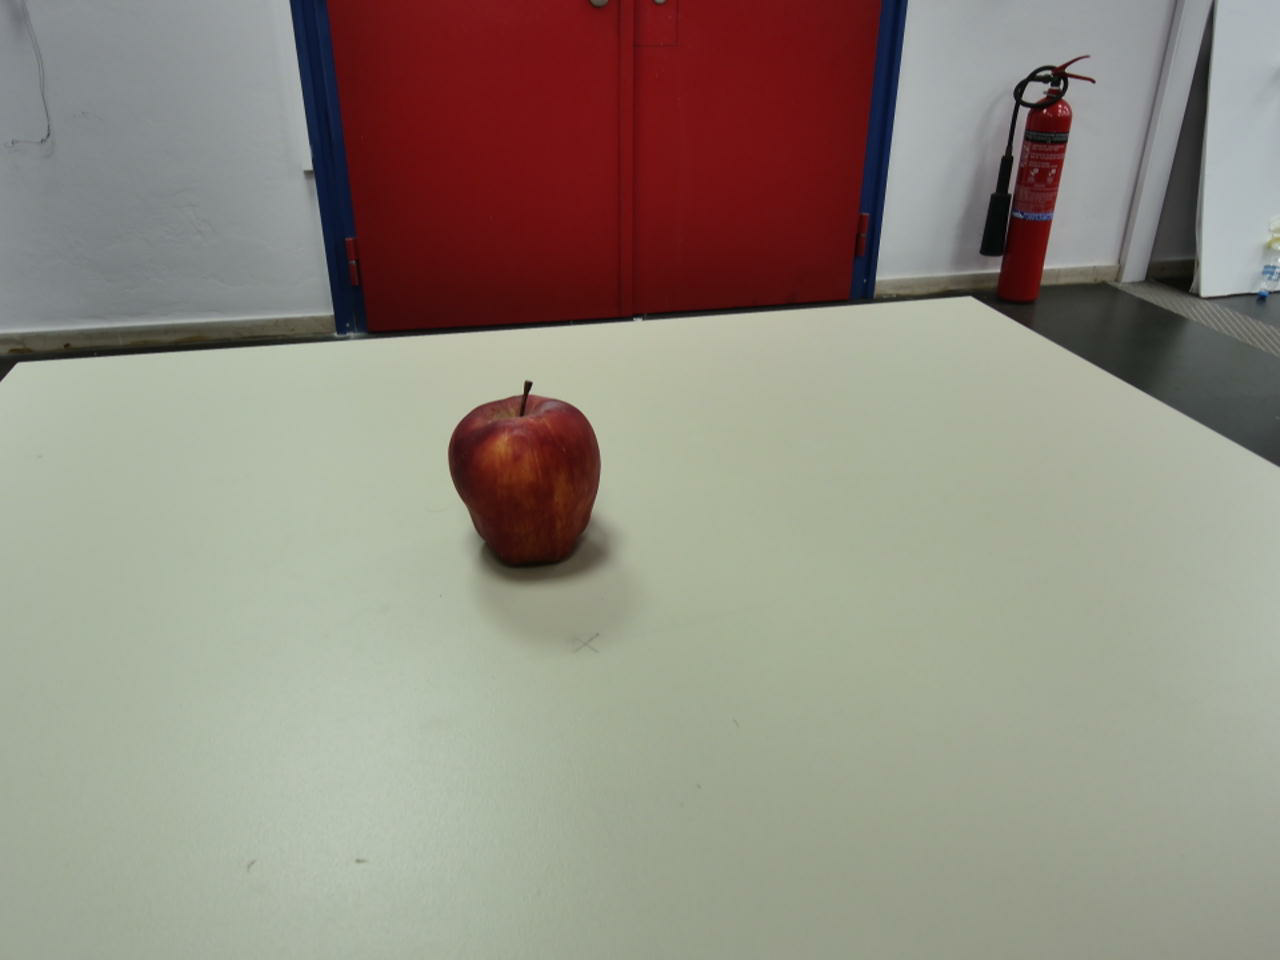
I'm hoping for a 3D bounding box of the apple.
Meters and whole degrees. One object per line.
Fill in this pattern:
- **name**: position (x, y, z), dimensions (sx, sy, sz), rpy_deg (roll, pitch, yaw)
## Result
- **apple**: position (-0.059, -0.007, 0.509), dimensions (0.083, 0.090, 0.083), rpy_deg (-1, 26, 0)
